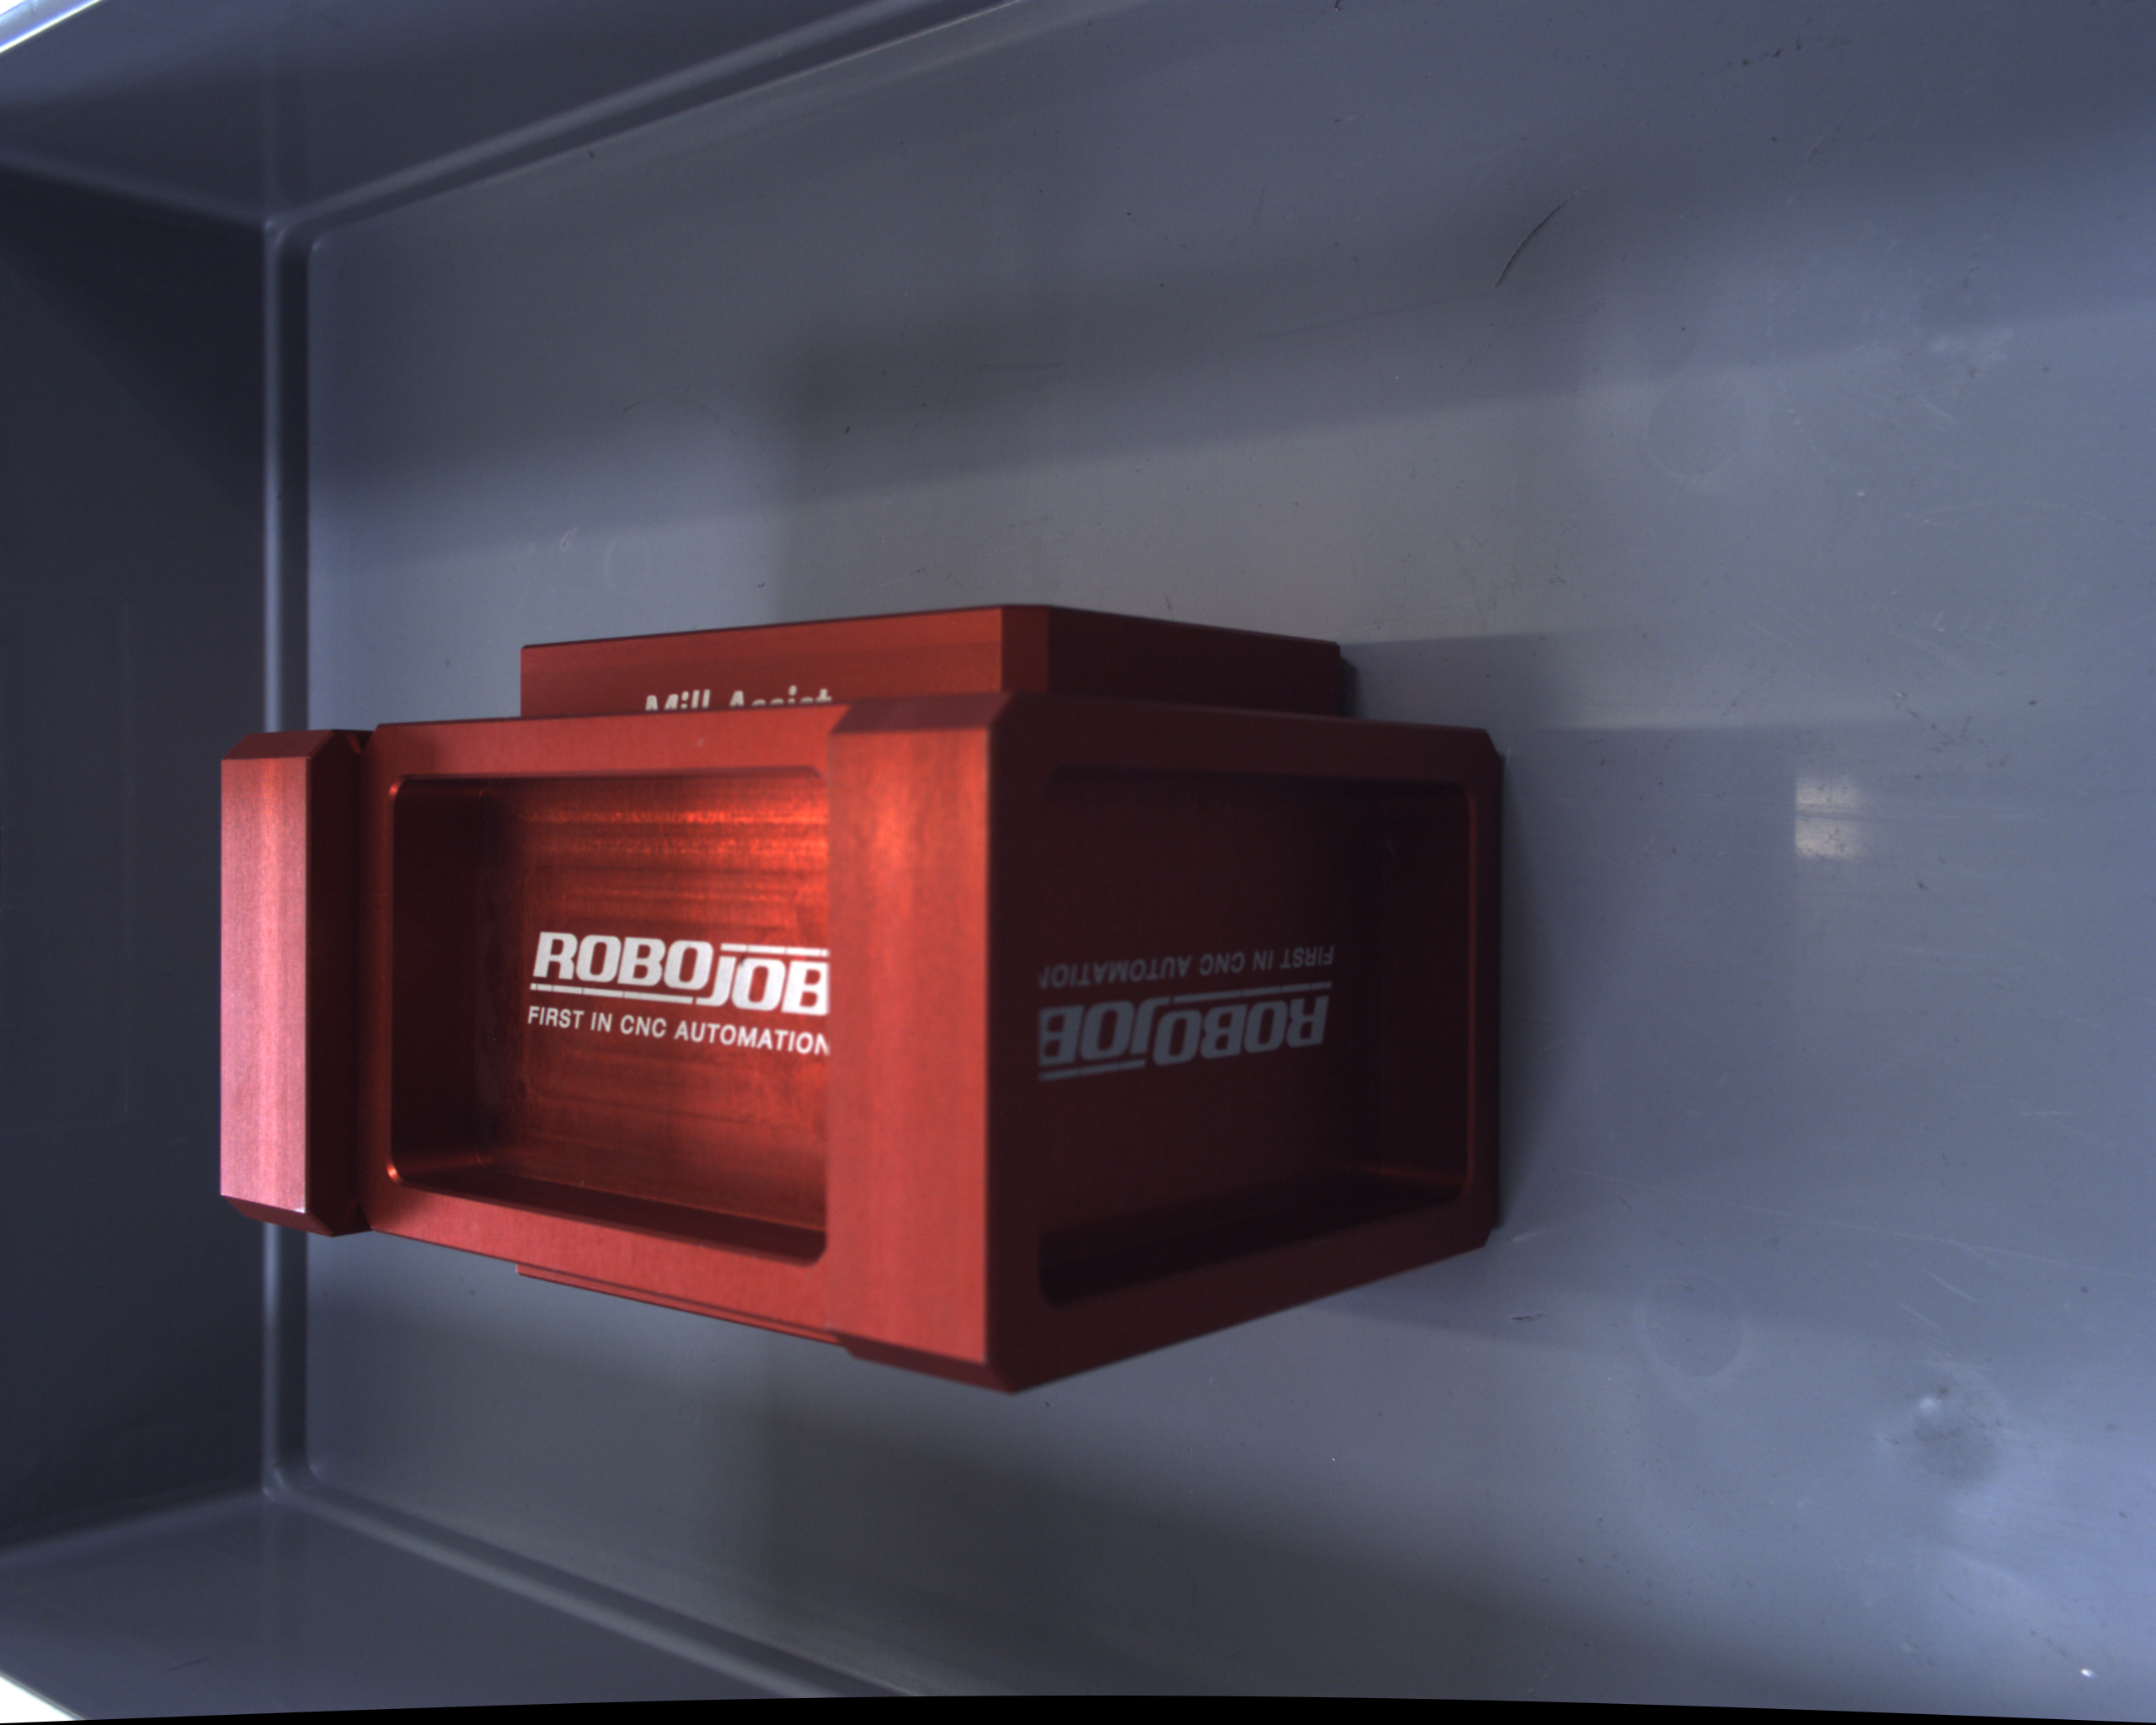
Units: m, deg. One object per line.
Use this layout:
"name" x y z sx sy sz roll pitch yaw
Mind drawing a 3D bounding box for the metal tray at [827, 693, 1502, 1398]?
"metal tray" 0.020 0.022 0.319 0.030 0.131 0.089 1 91 40

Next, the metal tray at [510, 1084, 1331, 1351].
"metal tray" -0.030 0.063 0.386 0.130 0.091 0.030 1 90 40

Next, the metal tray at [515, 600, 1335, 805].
"metal tray" -0.030 -0.026 0.385 0.130 0.091 0.030 1 91 40

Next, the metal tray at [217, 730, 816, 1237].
"metal tray" -0.104 0.020 0.423 0.030 0.131 0.089 1 91 40

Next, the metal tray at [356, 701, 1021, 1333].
"metal tray" -0.068 0.021 0.340 0.130 0.030 0.089 1 90 40
